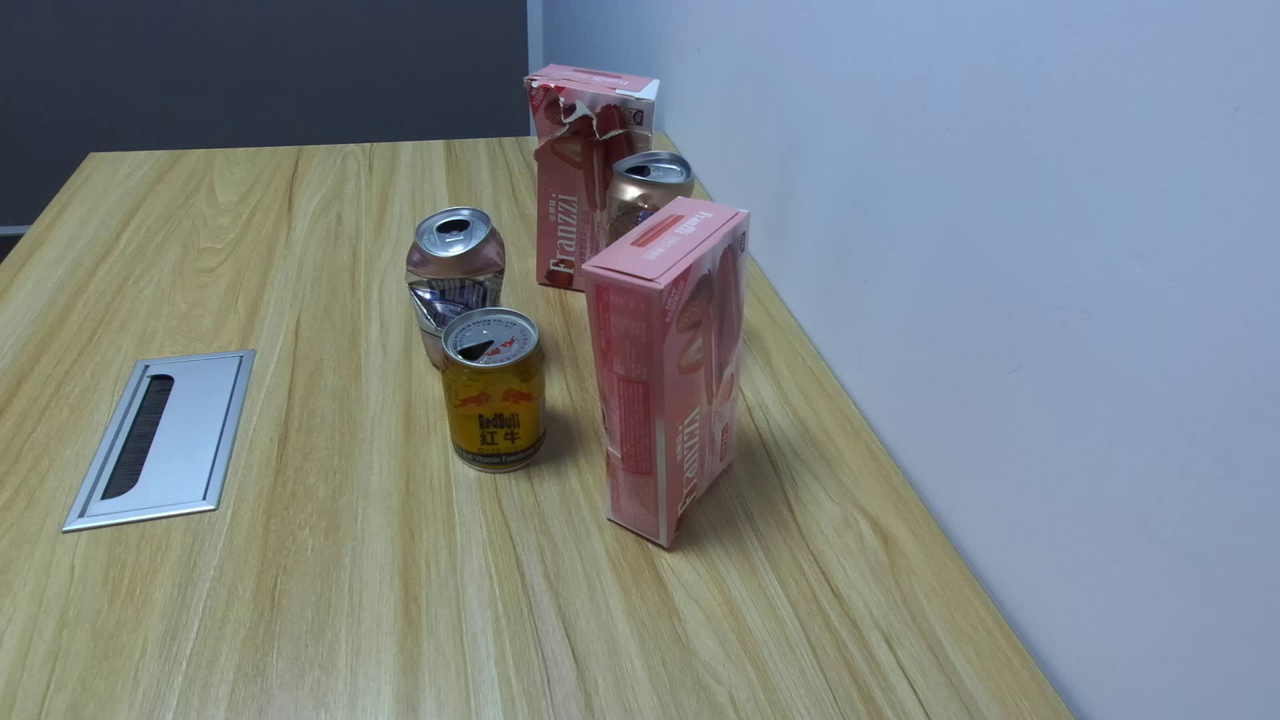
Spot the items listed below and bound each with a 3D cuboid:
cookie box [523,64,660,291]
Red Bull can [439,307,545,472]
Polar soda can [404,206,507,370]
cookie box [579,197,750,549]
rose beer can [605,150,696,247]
[{"bbox_3d":[-0.038,-0.139,0.589,0.105,0.186,0.059,11,37,10],"label":"cookie box"},{"bbox_3d":[-0.096,0.020,0.467,0.069,0.092,0.069,3,39,-2],"label":"Red Bull can"},{"bbox_3d":[-0.134,-0.047,0.526,0.071,0.122,0.066,-15,47,-21],"label":"Polar soda can"},{"bbox_3d":[0.018,0.014,0.411,0.048,0.188,0.105,18,41,27],"label":"cookie box"},{"bbox_3d":[0.009,-0.073,0.532,0.068,0.162,0.073,3,41,-1],"label":"rose beer can"}]
